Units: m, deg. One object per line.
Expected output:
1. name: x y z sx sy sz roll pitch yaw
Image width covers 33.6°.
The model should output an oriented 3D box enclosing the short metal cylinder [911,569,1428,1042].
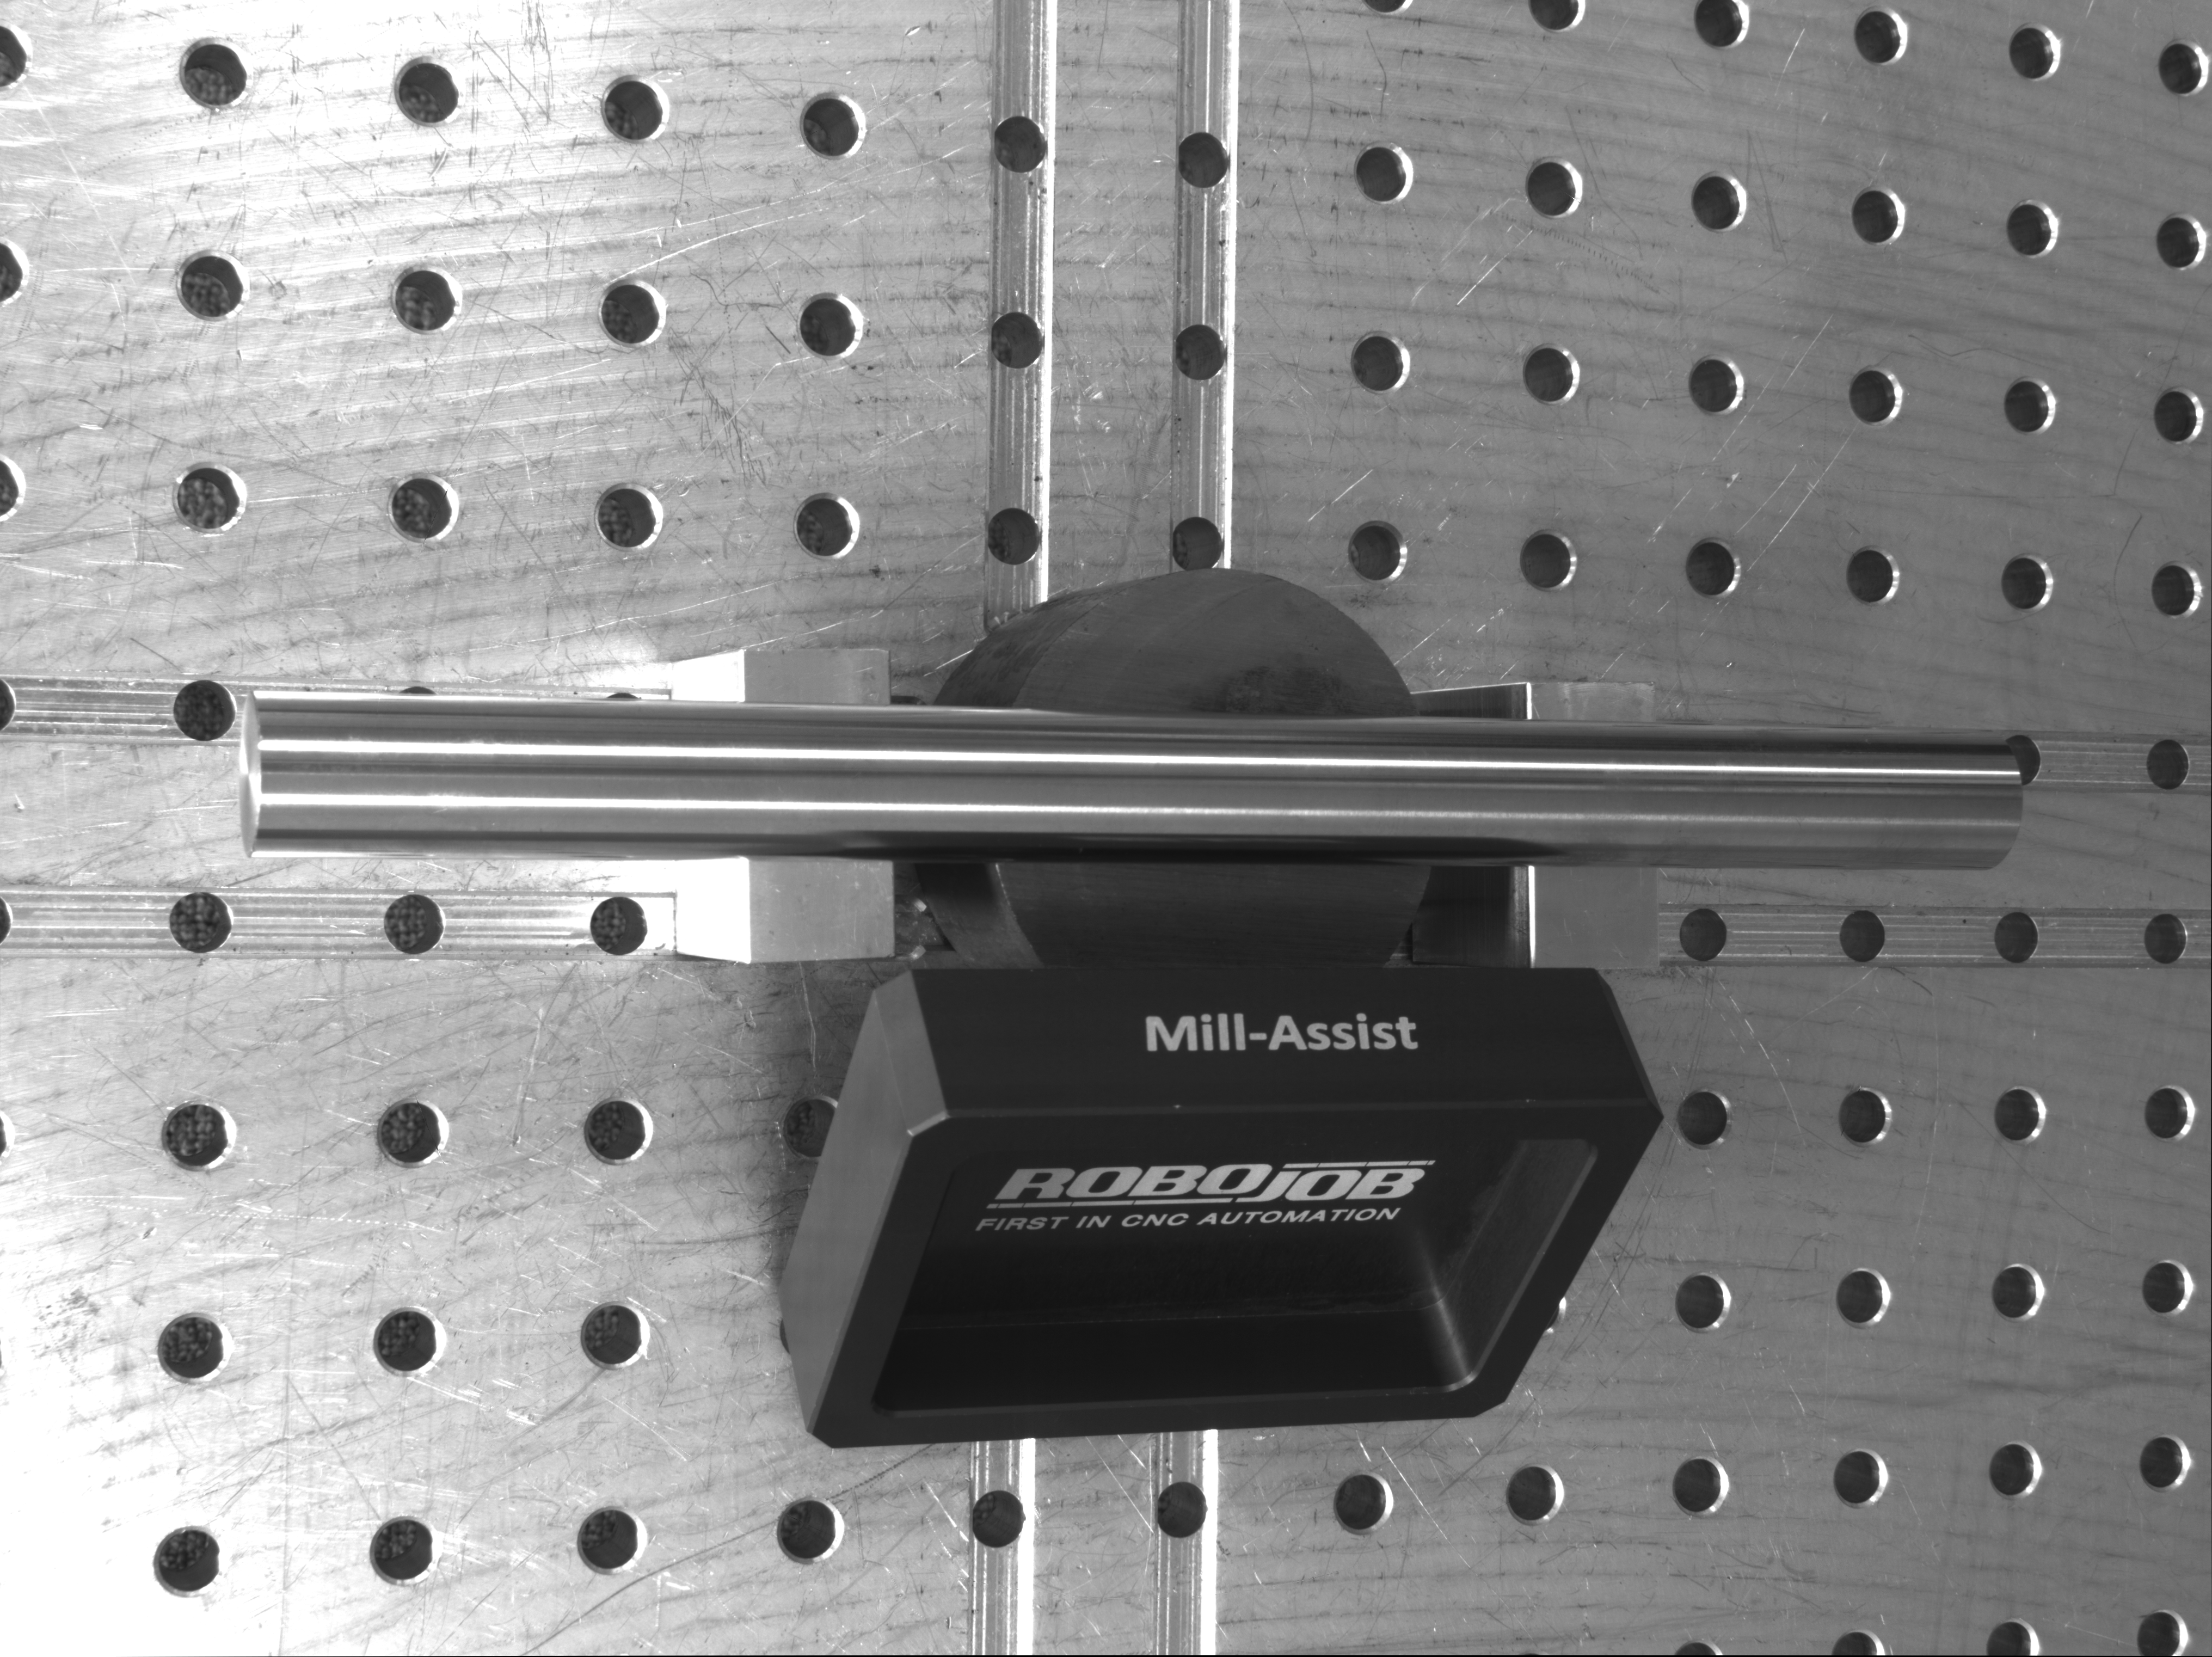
1. short metal cylinder: 0.010 -0.003 0.636 0.080 0.050 0.080 0 90 -20

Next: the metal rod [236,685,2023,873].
1. metal rod: 0.013 -0.007 0.597 0.301 0.025 0.025 1 90 -20

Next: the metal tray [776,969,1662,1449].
1. metal tray: 0.017 0.064 0.619 0.130 0.090 0.030 1 46 -20

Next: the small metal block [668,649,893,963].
1. small metal block: -0.055 -0.004 0.612 0.025 0.050 0.050 -1 90 -20

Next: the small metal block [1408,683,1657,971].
1. small metal block: 0.076 0.000 0.660 0.025 0.050 0.050 -1 90 -20
